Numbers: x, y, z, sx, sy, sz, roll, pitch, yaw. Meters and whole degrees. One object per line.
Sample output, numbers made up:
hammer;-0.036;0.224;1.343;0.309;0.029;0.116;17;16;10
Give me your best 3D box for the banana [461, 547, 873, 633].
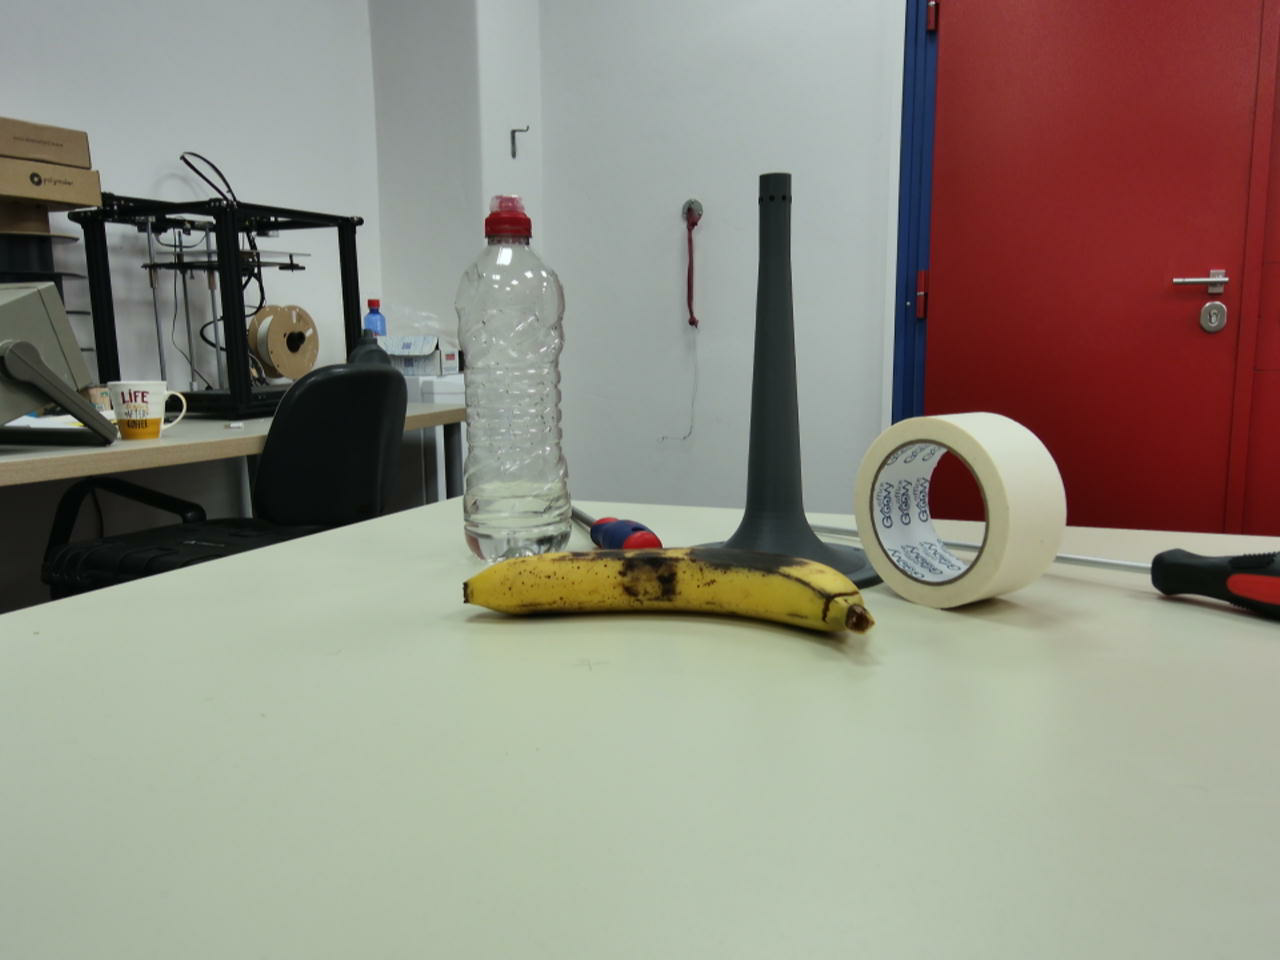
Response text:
banana;0.018;0.058;0.530;0.222;0.037;0.084;3;6;24
